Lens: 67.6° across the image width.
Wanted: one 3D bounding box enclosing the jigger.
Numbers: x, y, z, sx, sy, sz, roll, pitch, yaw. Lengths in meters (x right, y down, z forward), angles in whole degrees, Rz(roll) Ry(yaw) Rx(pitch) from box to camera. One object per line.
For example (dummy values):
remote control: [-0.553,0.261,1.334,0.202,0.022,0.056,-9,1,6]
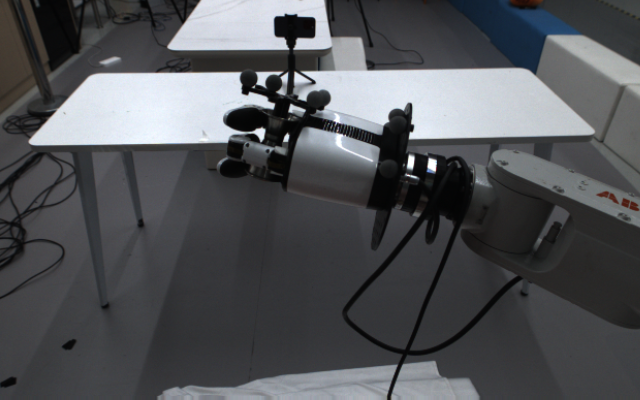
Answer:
jigger: [-0.047,-0.057,0.518,0.043,0.071,0.043,15,17,-5]
